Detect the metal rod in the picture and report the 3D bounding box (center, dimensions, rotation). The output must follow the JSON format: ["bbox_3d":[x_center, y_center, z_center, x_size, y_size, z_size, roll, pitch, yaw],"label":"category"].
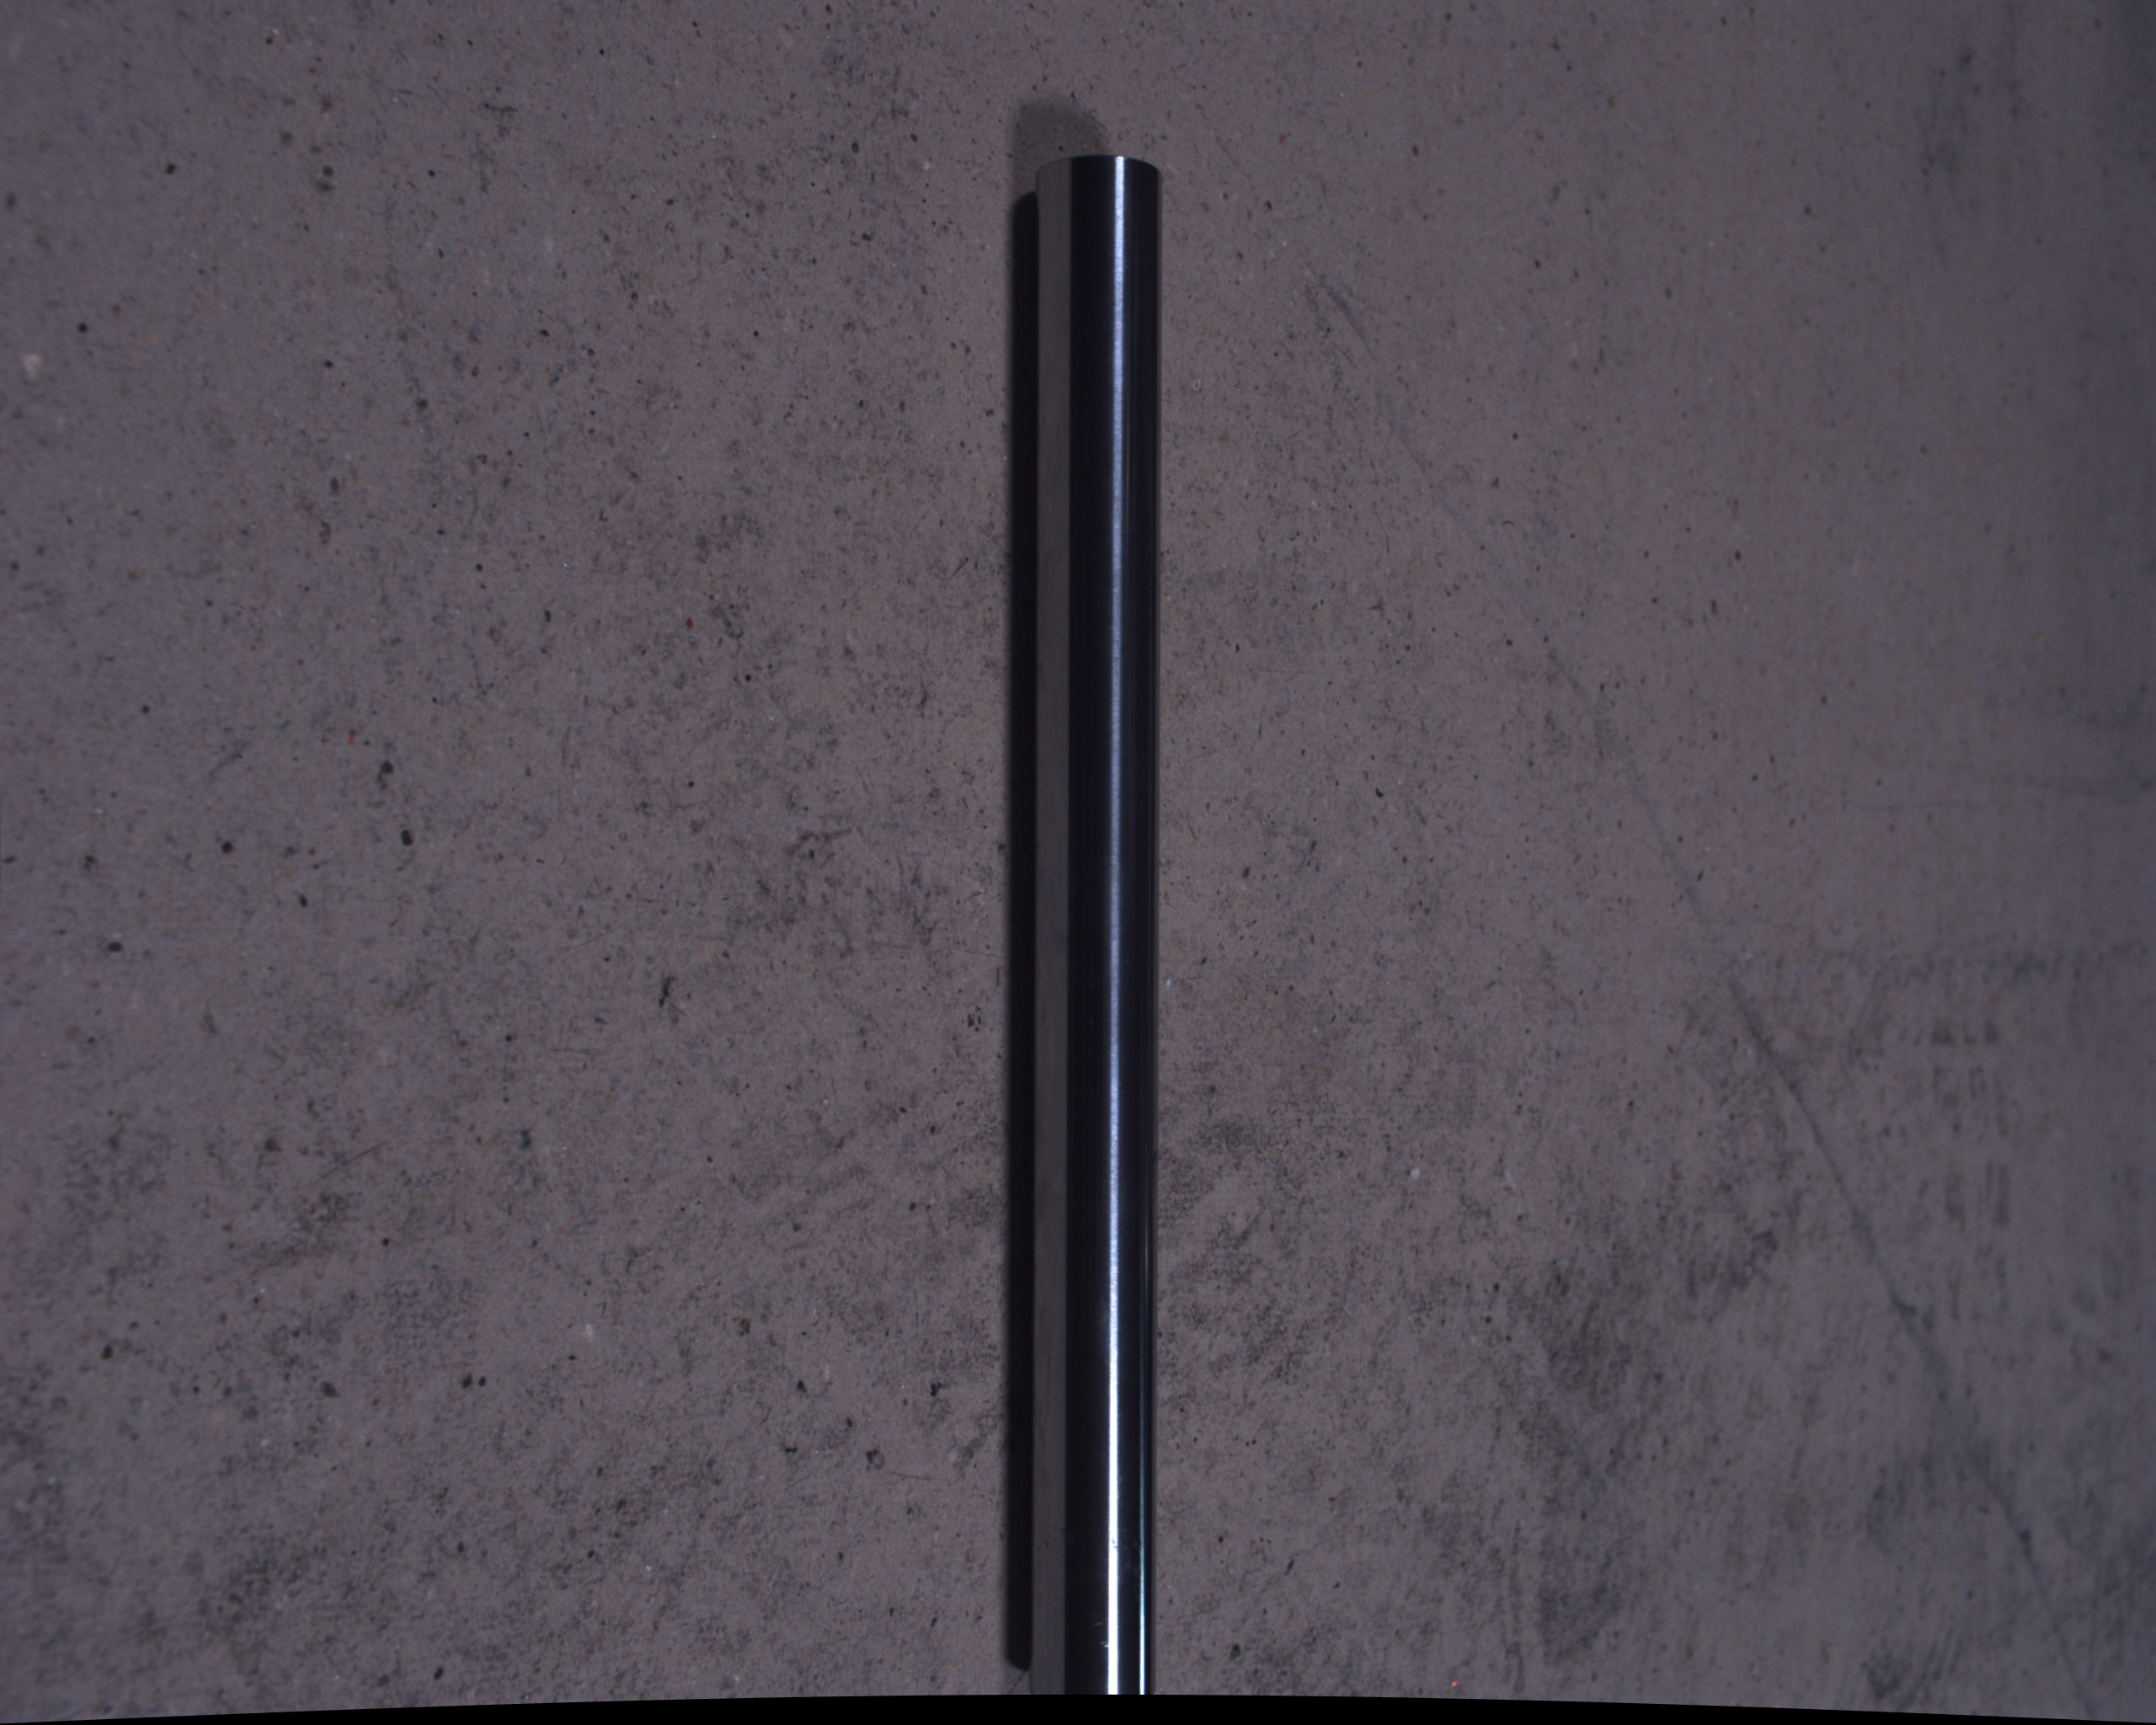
[{"bbox_3d":[0.004,0.014,0.411,0.025,0.025,0.298,0,90,-40],"label":"metal rod"}]
